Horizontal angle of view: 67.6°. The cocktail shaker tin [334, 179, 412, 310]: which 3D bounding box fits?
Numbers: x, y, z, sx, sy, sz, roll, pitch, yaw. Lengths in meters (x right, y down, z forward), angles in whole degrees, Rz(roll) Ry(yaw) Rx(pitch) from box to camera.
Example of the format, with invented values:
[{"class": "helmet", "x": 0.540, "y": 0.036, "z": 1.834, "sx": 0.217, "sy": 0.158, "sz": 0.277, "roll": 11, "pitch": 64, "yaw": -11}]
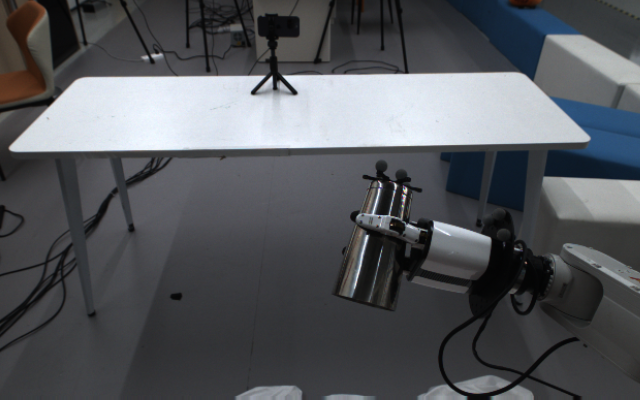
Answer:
[{"class": "cocktail shaker tin", "x": 0.083, "y": 0.063, "z": 0.689, "sx": 0.093, "sy": 0.093, "sz": 0.170, "roll": 12, "pitch": 76, "yaw": 14}]
